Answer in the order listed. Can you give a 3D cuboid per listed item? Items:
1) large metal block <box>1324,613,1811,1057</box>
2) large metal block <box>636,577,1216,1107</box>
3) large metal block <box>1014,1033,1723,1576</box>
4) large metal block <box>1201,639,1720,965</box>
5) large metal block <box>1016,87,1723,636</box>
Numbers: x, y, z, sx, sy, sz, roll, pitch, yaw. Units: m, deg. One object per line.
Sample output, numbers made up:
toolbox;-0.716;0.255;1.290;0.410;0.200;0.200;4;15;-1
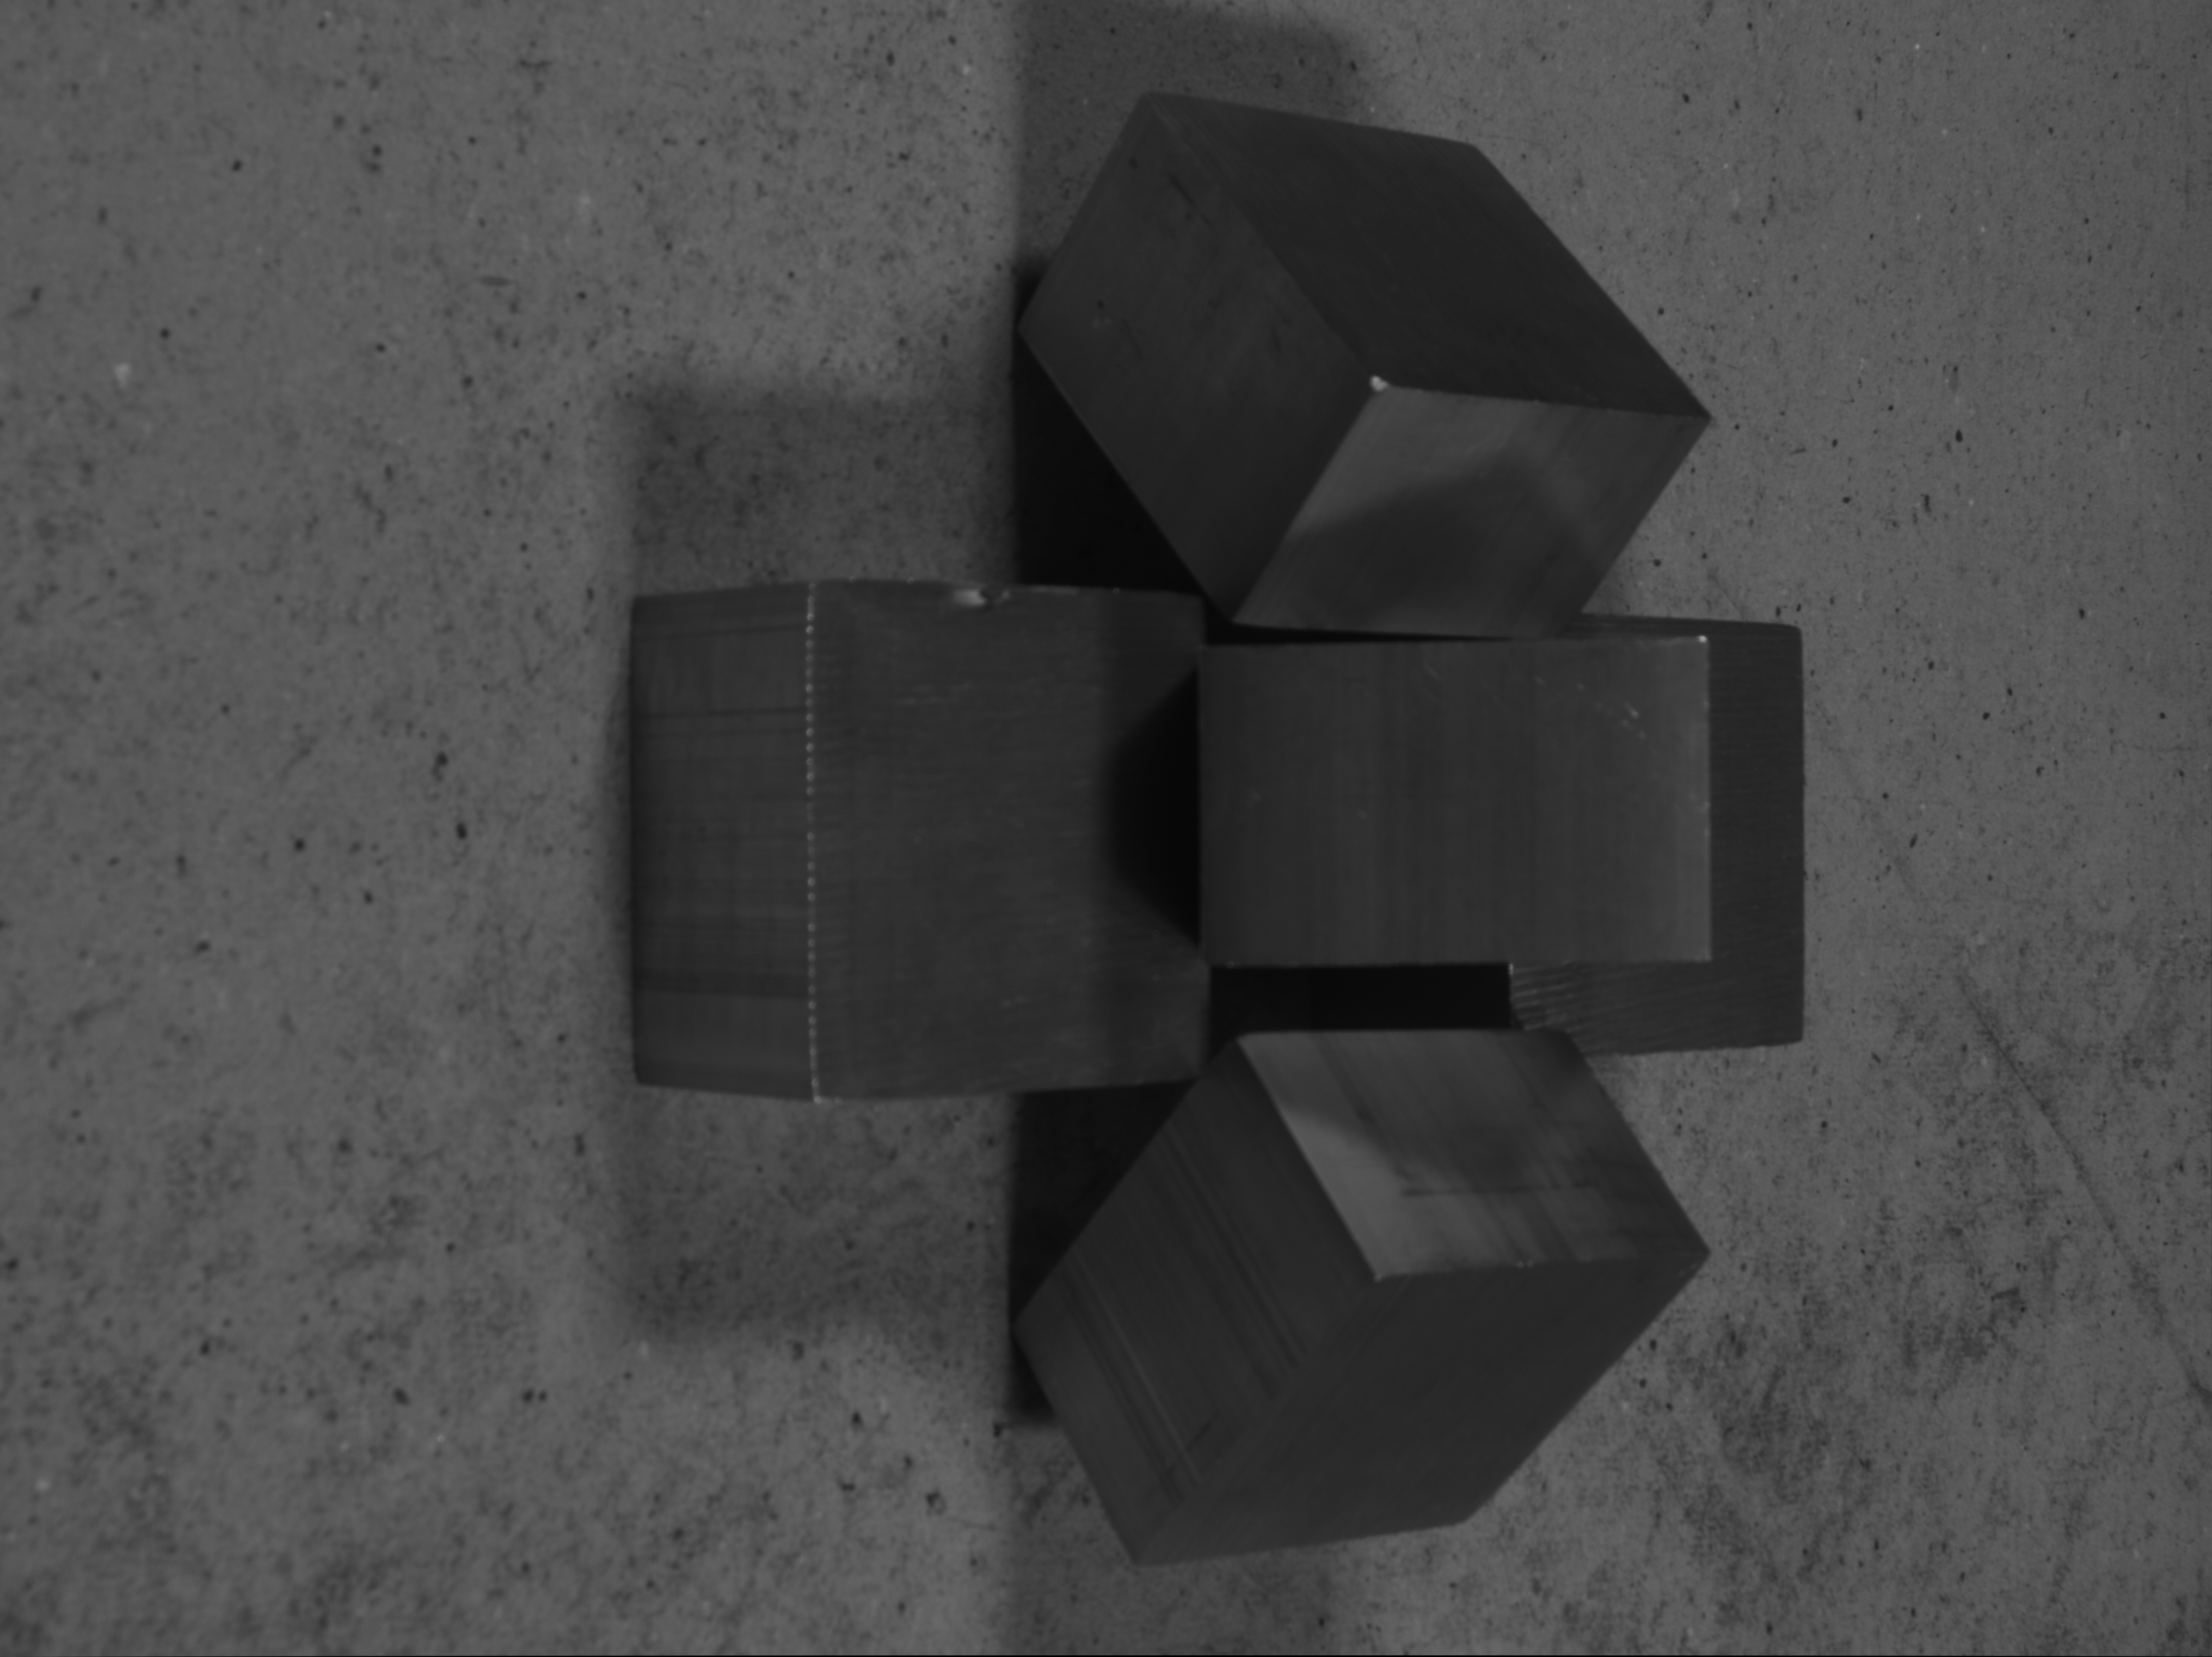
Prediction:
large metal block;0.087;0.001;0.690;0.080;0.050;0.080;0;90;-40
large metal block;-0.029;0.002;0.597;0.080;0.050;0.080;0;90;-40
large metal block;0.044;0.081;0.631;0.080;0.080;0.050;2;46;-39
large metal block;0.058;-0.004;0.607;0.080;0.080;0.050;0;90;5
large metal block;0.044;-0.079;0.631;0.080;0.080;0.050;0;134;-39
